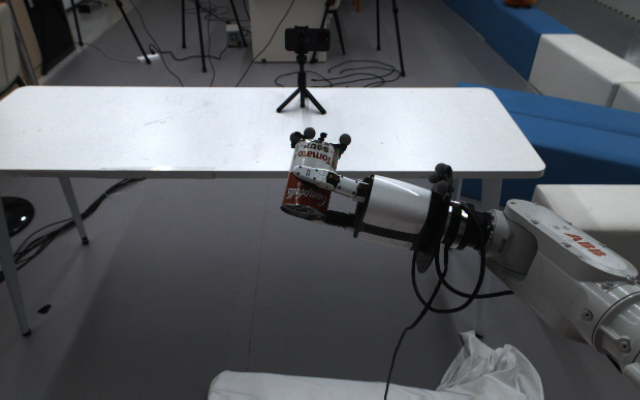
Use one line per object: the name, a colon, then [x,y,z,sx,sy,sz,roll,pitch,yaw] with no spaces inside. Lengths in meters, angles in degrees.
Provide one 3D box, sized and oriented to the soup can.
soup can: [-0.013,-0.029,0.701,0.067,0.067,0.101,9,74,9]
